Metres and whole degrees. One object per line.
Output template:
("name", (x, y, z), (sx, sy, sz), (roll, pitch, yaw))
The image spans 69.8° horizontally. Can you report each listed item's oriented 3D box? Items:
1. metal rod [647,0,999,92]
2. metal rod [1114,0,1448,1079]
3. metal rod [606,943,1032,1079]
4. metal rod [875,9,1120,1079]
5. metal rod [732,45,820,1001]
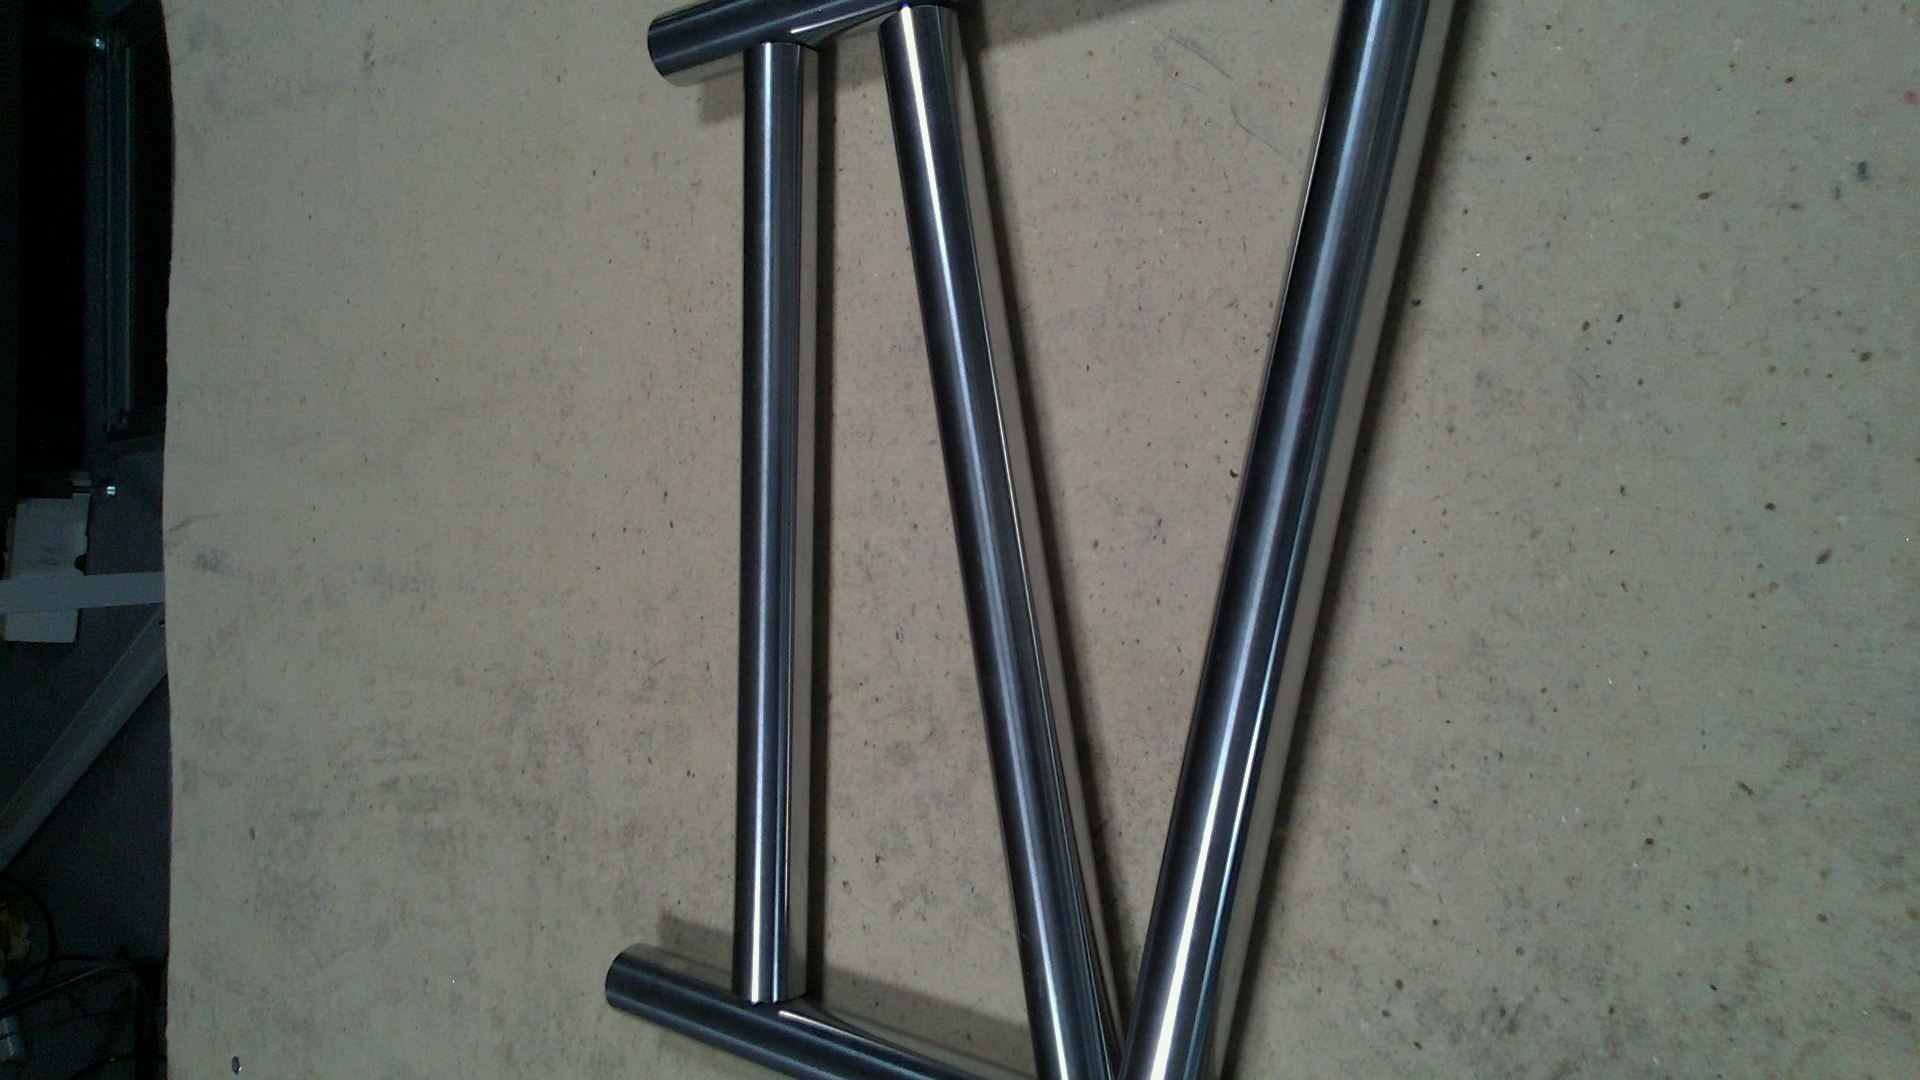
("metal rod", (0.016, -0.165, 0.381), (0.299, 0.025, 0.025), (1, 91, 40))
("metal rod", (0.076, -0.002, 0.330), (0.025, 0.025, 0.300), (17, 101, 39))
("metal rod", (-0.002, 0.159, 0.396), (0.299, 0.025, 0.025), (1, 91, 40))
("metal rod", (0.010, -0.003, 0.386), (0.025, 0.025, 0.300), (-15, 80, 39))
("metal rod", (-0.059, -0.005, 0.444), (0.025, 0.025, 0.300), (1, 91, 40))
